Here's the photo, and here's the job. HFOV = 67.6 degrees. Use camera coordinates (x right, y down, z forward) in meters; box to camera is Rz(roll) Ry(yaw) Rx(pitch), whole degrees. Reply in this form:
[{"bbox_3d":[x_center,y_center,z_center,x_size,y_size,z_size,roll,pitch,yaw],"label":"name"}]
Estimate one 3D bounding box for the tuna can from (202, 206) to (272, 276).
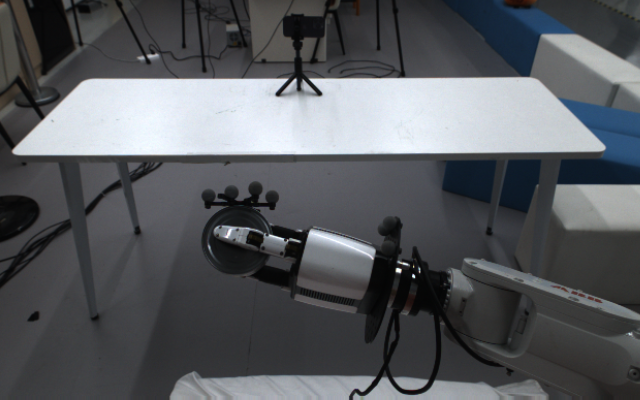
[{"bbox_3d":[-0.098,0.056,0.594,0.085,0.034,0.085,1,74,-5],"label":"tuna can"}]
